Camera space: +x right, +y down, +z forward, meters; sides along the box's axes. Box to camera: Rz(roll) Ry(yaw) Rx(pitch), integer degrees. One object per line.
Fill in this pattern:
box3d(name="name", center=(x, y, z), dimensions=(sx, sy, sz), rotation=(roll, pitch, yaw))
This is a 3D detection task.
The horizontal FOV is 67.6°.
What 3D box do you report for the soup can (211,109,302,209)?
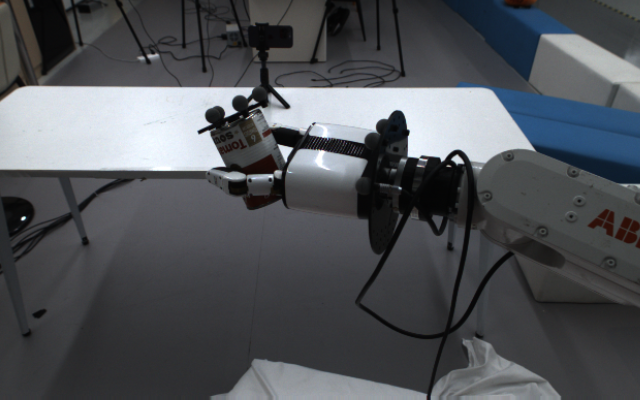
box3d(name="soup can", center=(-0.077, -0.047, 0.579), dimensions=(0.067, 0.101, 0.067), rotation=(-23, 16, 7))
